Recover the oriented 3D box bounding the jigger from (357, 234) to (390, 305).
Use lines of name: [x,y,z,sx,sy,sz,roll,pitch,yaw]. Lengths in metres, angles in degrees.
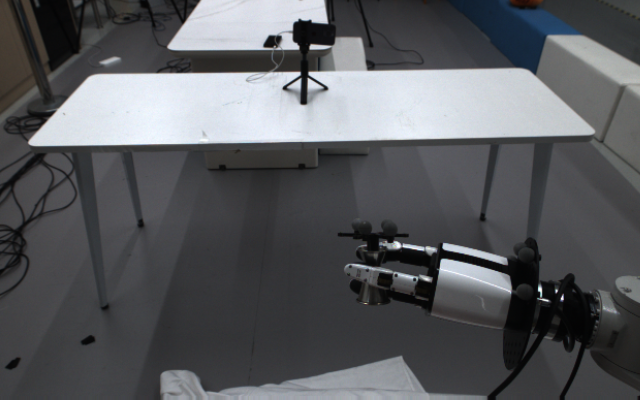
jigger: [0.068,0.095,0.621,0.043,0.071,0.043,-1,2,0]
